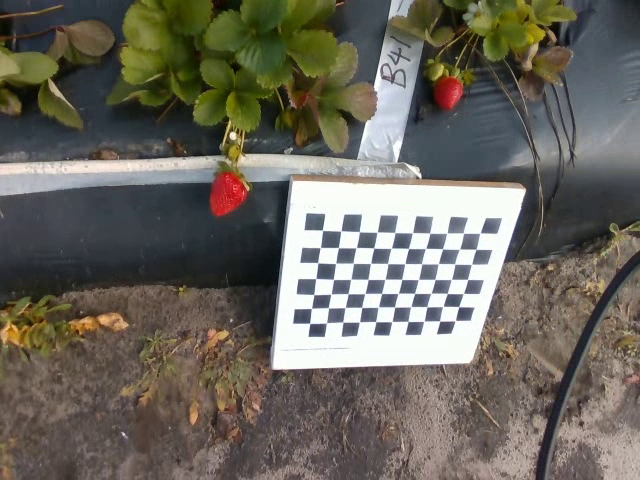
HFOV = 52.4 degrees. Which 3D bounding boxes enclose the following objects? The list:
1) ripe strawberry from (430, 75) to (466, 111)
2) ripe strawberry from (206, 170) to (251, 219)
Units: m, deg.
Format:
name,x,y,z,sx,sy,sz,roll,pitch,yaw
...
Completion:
name,x,y,z,sx,sy,sz,roll,pitch,yaw
ripe strawberry,0.142,-0.160,0.699,0.037,0.047,0.031,14,-28,-19
ripe strawberry,-0.095,-0.045,0.659,0.047,0.052,0.030,39,-10,-29
